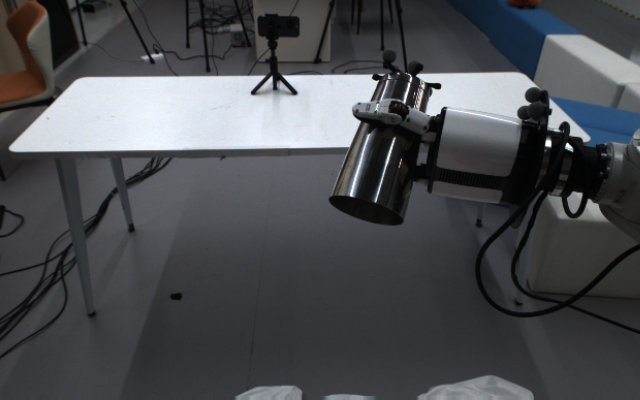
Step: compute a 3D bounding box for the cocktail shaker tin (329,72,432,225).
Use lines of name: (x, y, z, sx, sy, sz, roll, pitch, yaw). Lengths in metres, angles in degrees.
cocktail shaker tin: (0.081, -0.064, 0.587, 0.093, 0.093, 0.170, 14, 75, 17)
